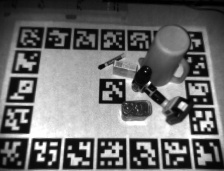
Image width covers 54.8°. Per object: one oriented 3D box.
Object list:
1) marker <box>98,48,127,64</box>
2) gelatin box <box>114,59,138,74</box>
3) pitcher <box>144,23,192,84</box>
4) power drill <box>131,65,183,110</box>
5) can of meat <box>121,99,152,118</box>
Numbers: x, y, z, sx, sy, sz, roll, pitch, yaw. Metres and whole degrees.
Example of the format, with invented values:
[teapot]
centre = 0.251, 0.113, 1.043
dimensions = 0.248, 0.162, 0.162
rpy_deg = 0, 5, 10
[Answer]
[marker]
centre = 0.001, -0.117, 0.860
dimensions = 0.121, 0.020, 0.019
rpy_deg = -25, 75, -9
[gelatin box]
centre = 0.055, -0.072, 0.823
dimensions = 0.089, 0.073, 0.030
rpy_deg = 11, 75, 0
[pitcher]
centre = 0.201, -0.100, 0.757
dimensions = 0.187, 0.244, 0.133
rpy_deg = 30, 76, 15
[power drill]
centre = 0.152, 0.005, 0.744
dimensions = 0.187, 0.184, 0.057
rpy_deg = 35, 77, 3
[can of meat]
centre = 0.083, 0.080, 0.765
dimensions = 0.102, 0.084, 0.057
rpy_deg = 0, 69, -3
